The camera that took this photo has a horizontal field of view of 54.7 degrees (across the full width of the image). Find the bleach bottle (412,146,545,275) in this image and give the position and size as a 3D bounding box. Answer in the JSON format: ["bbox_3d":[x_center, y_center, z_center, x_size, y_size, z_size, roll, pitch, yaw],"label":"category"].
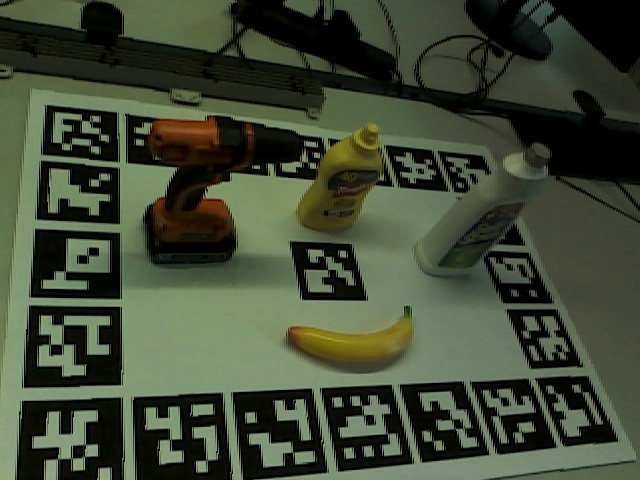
[{"bbox_3d":[0.235,-0.043,0.908,0.102,0.251,0.068,9,51,-18],"label":"bleach bottle"}]

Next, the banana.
[{"bbox_3d":[0.054,0.129,0.823,0.196,0.039,0.074,-4,58,-23],"label":"banana"}]

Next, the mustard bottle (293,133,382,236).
[{"bbox_3d":[0.036,-0.082,0.895,0.095,0.191,0.059,-4,56,-29],"label":"mustard bottle"}]

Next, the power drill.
[{"bbox_3d":[-0.118,-0.069,0.775,0.184,0.187,0.057,-5,57,-23],"label":"power drill"}]
